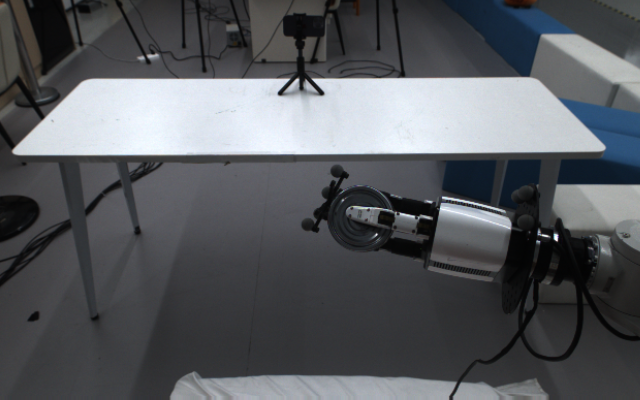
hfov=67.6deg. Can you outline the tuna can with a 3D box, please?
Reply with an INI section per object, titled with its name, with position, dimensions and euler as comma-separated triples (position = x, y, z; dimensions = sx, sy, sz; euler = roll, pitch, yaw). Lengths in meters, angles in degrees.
[tuna can]
position = 0.056, 0.023, 0.621
dimensions = 0.085, 0.085, 0.034
euler = 9, -5, 10
